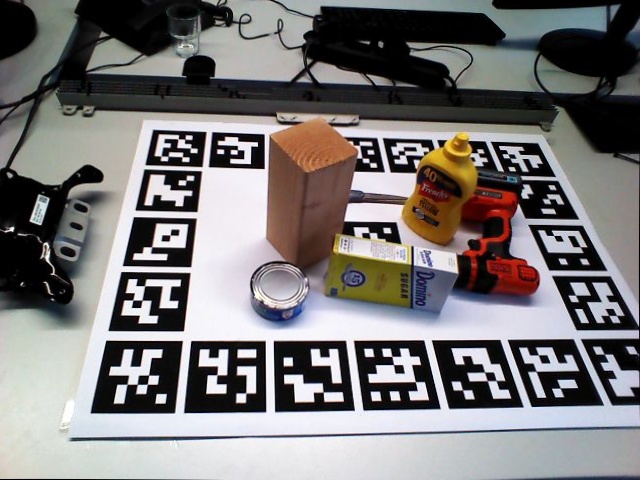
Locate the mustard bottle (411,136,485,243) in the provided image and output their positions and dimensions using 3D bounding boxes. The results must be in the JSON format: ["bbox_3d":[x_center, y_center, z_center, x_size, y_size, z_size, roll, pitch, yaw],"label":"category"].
[{"bbox_3d":[0.204,-0.084,0.800,0.058,0.192,0.096,-35,63,-29],"label":"mustard bottle"}]

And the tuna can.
[{"bbox_3d":[-0.052,0.069,0.734,0.086,0.034,0.085,3,51,-5],"label":"tuna can"}]

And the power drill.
[{"bbox_3d":[0.249,-0.007,0.818,0.185,0.057,0.186,11,57,3],"label":"power drill"}]

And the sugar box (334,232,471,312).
[{"bbox_3d":[0.114,0.048,0.737,0.177,0.093,0.045,11,47,0],"label":"sugar box"}]

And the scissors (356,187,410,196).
[{"bbox_3d":[0.055,-0.083,0.885,0.203,0.016,0.087,2,47,-5],"label":"scissors"}]

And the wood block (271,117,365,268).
[{"bbox_3d":[-0.011,-0.061,0.749,0.090,0.207,0.090,-24,58,-23],"label":"wood block"}]
